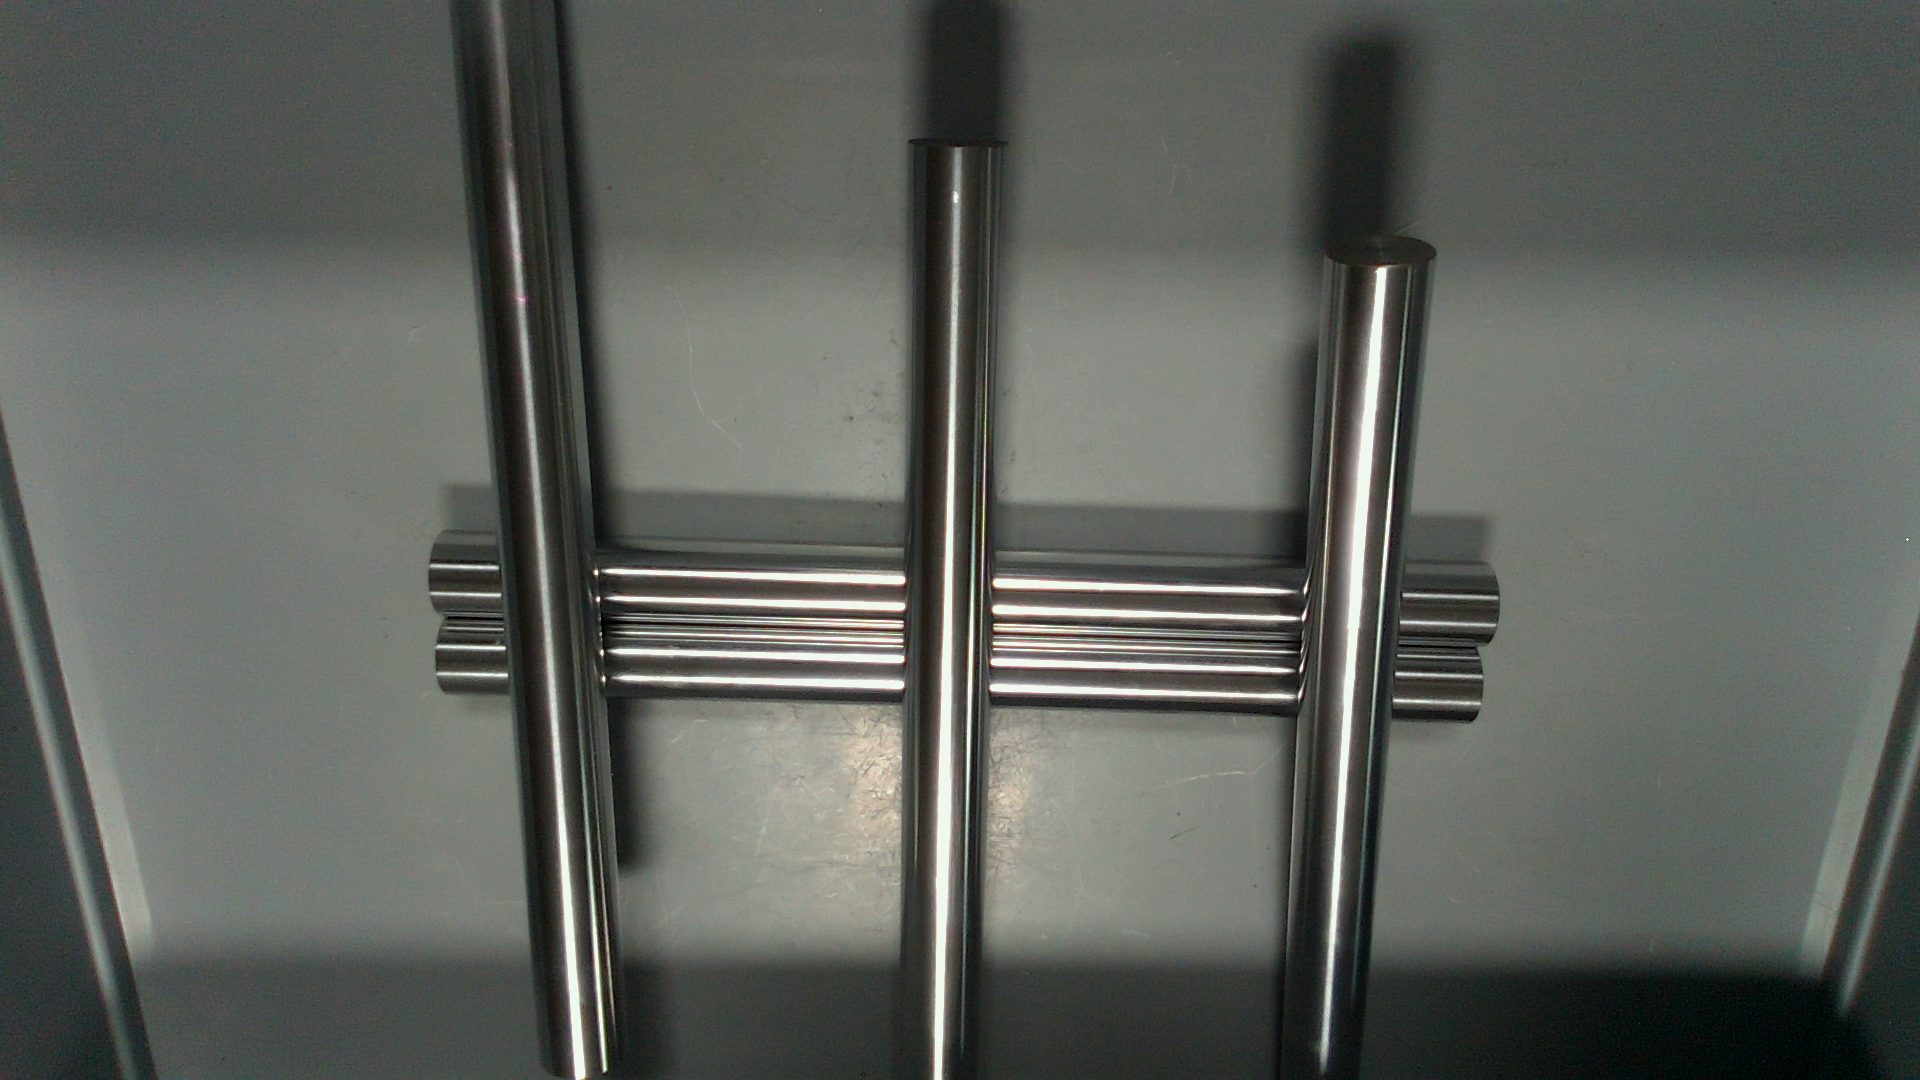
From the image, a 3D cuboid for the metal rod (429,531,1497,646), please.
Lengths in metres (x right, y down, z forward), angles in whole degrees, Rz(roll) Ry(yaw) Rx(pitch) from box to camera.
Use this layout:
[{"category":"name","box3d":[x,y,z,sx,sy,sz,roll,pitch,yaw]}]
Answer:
[{"category":"metal rod","box3d":[0.002,0.014,0.399,0.300,0.025,0.025,2,110,-1]}]

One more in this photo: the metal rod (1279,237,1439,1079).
[{"category":"metal rod","box3d":[0.109,0.064,0.393,0.025,0.025,0.300,-4,119,1]}]

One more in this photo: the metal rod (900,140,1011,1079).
[{"category":"metal rod","box3d":[-0.004,0.045,0.383,0.025,0.025,0.300,1,110,0]}]

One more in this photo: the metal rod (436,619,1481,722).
[{"category":"metal rod","box3d":[0.000,0.037,0.407,0.300,0.025,0.025,2,110,-1]}]

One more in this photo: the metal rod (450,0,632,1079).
[{"category":"metal rod","box3d":[-0.110,0.003,0.368,0.025,0.025,0.300,-1,102,0]}]
